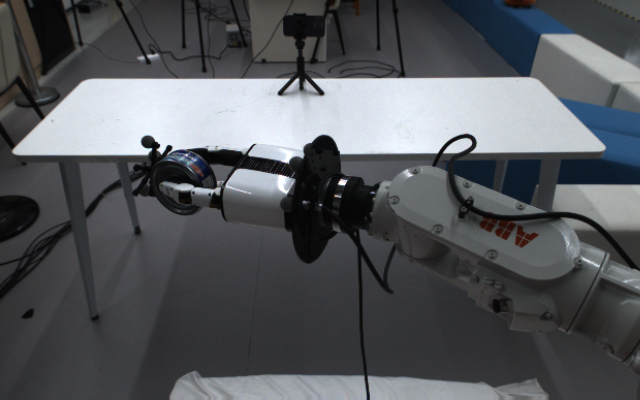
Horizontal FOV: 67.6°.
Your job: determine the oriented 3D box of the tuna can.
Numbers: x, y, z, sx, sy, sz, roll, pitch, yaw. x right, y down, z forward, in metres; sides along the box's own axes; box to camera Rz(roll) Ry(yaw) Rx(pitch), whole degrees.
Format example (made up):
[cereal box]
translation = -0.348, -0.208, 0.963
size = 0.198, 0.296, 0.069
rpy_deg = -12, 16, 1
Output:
[tuna can]
translation = -0.183, -0.024, 0.656
size = 0.085, 0.085, 0.034
rpy_deg = 11, 31, 13
